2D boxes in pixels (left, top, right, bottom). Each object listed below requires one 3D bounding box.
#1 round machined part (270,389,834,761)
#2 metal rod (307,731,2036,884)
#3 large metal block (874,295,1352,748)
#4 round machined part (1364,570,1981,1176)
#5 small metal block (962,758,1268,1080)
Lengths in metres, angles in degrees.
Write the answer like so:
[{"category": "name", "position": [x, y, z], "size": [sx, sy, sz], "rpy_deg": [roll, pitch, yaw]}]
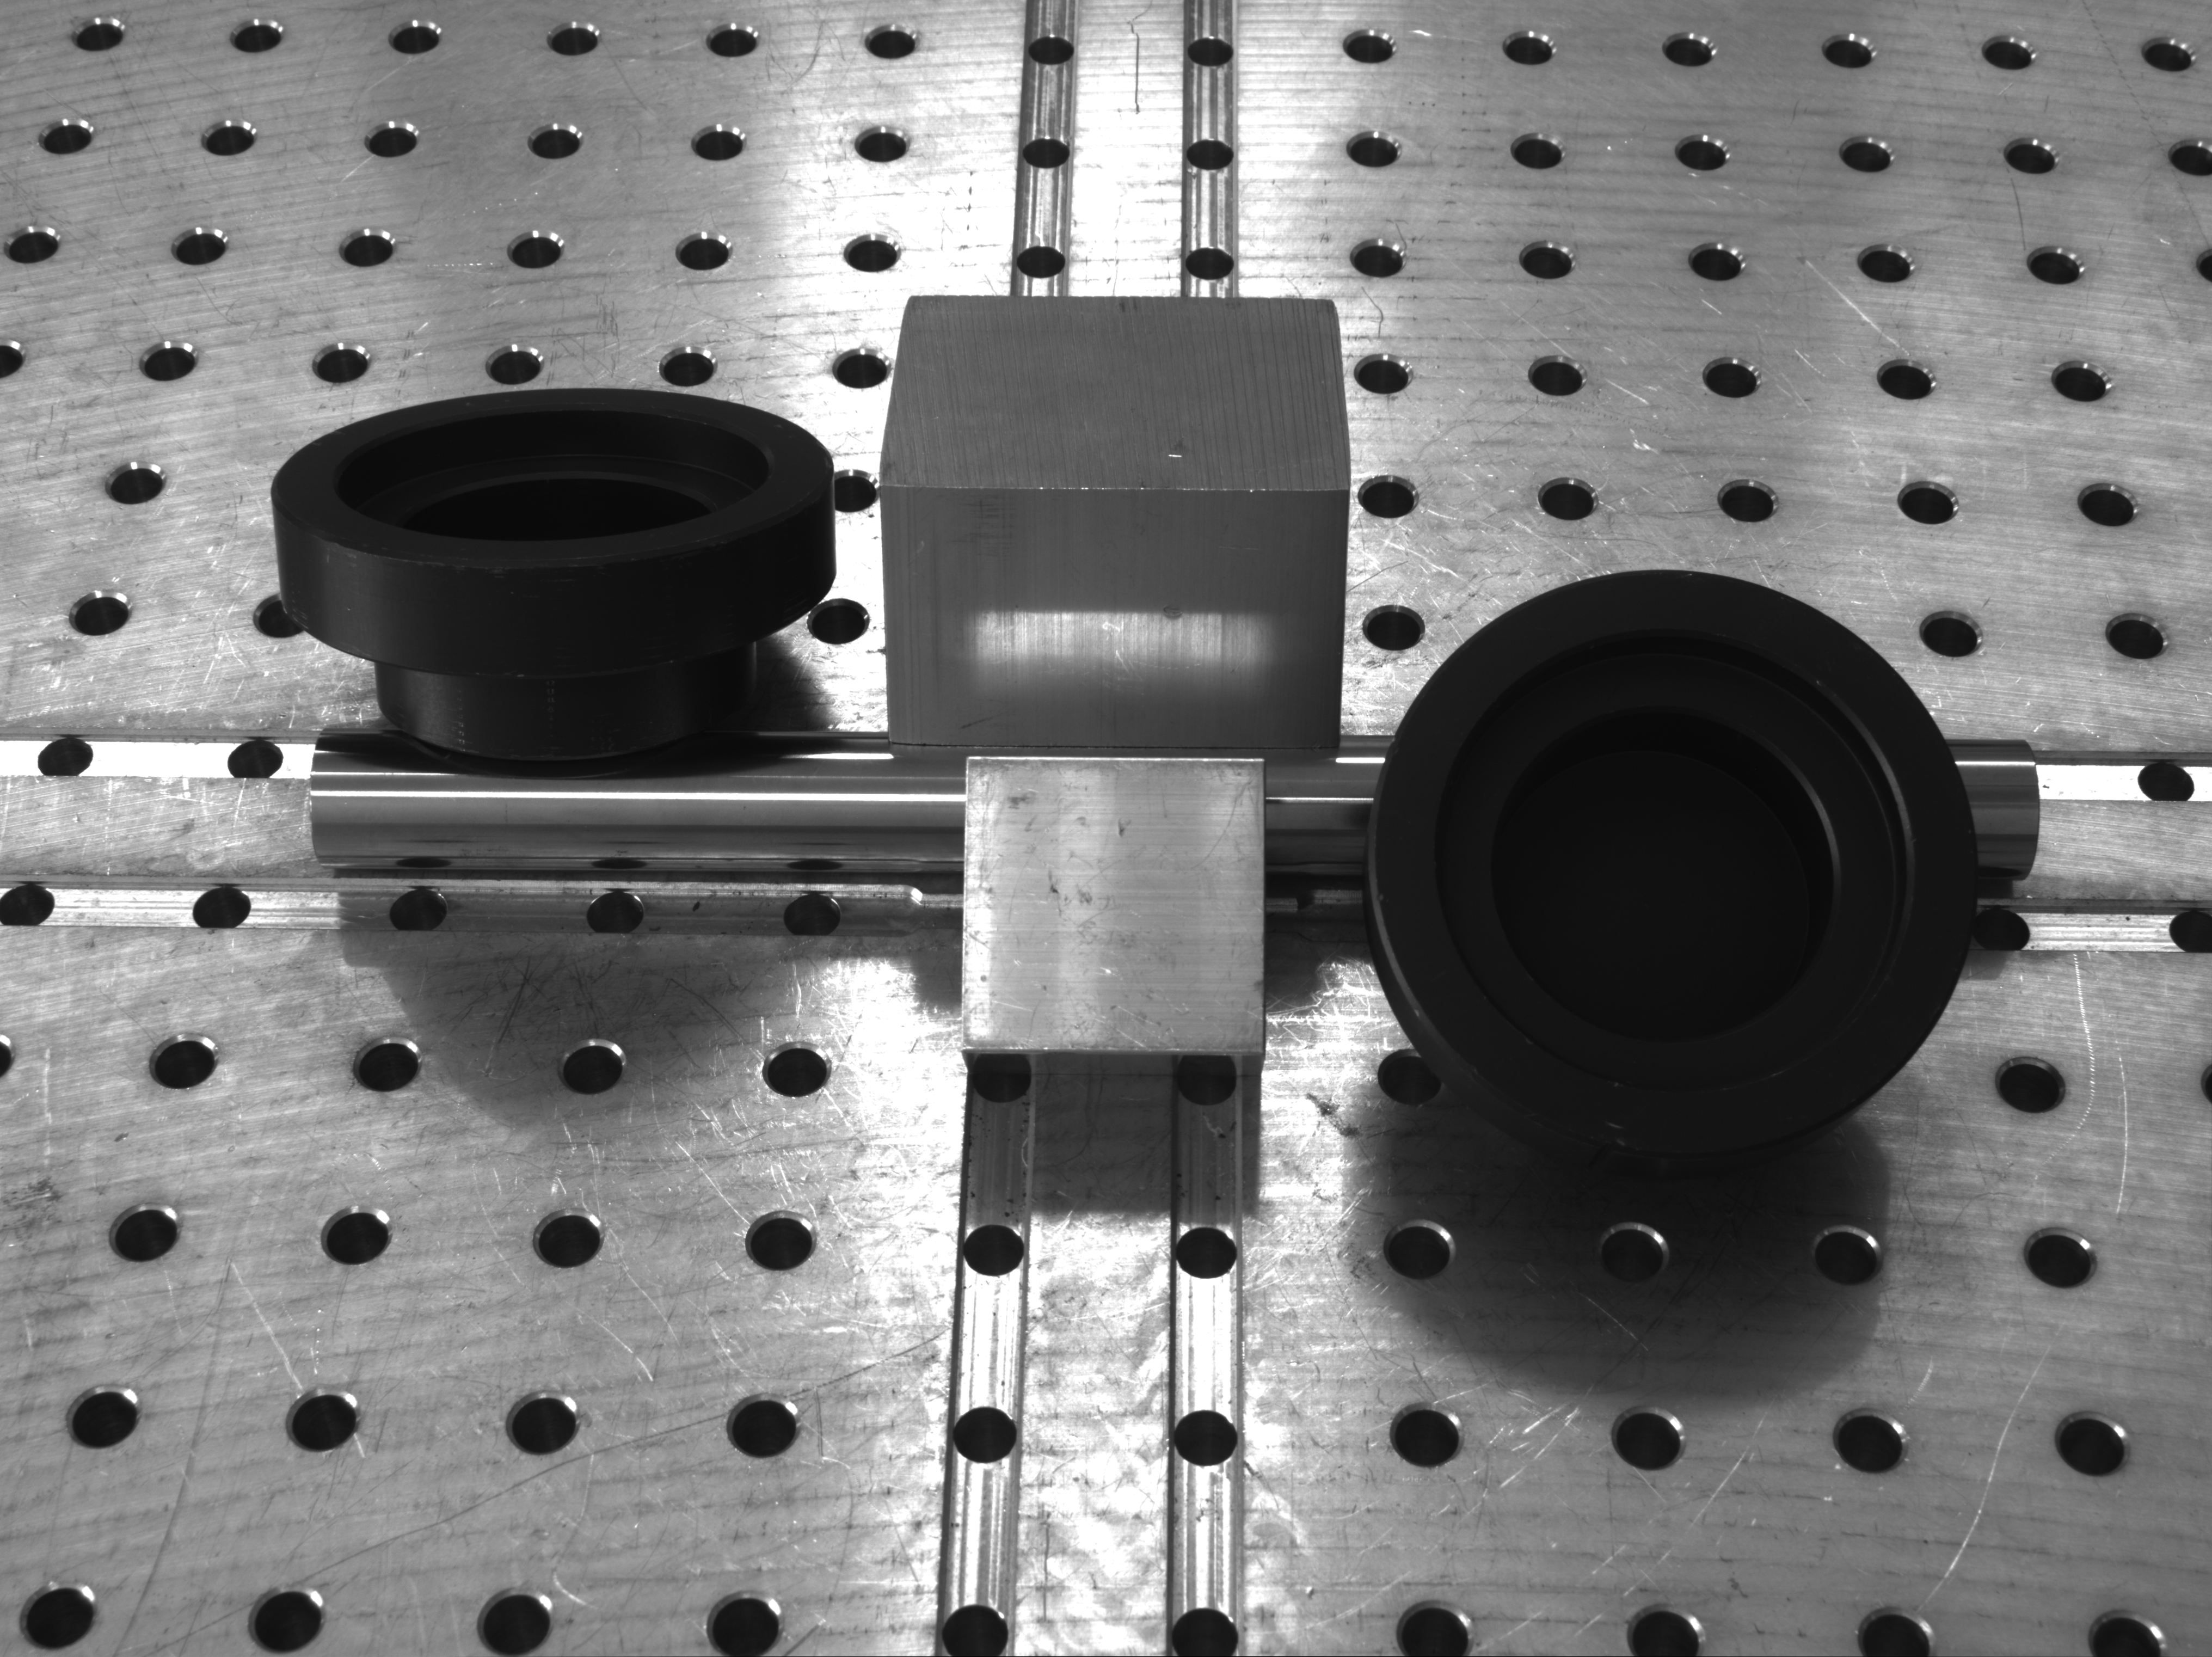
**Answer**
[{"category": "round machined part", "position": [-0.097, -0.044, 0.655], "size": [0.098, 0.042, 0.098], "rpy_deg": [0, 24, 0]}, {"category": "metal rod", "position": [0.011, -0.004, 0.650], "size": [0.300, 0.025, 0.025], "rpy_deg": [0, 50, 0]}, {"category": "large metal block", "position": [0.002, -0.057, 0.663], "size": [0.080, 0.050, 0.080], "rpy_deg": [1, 32, 1]}, {"category": "round machined part", "position": [0.092, 0.010, 0.610], "size": [0.098, 0.042, 0.098], "rpy_deg": [0, 75, 0]}, {"category": "small metal block", "position": [0.002, 0.016, 0.620], "size": [0.050, 0.025, 0.050], "rpy_deg": [1, 79, 1]}]
